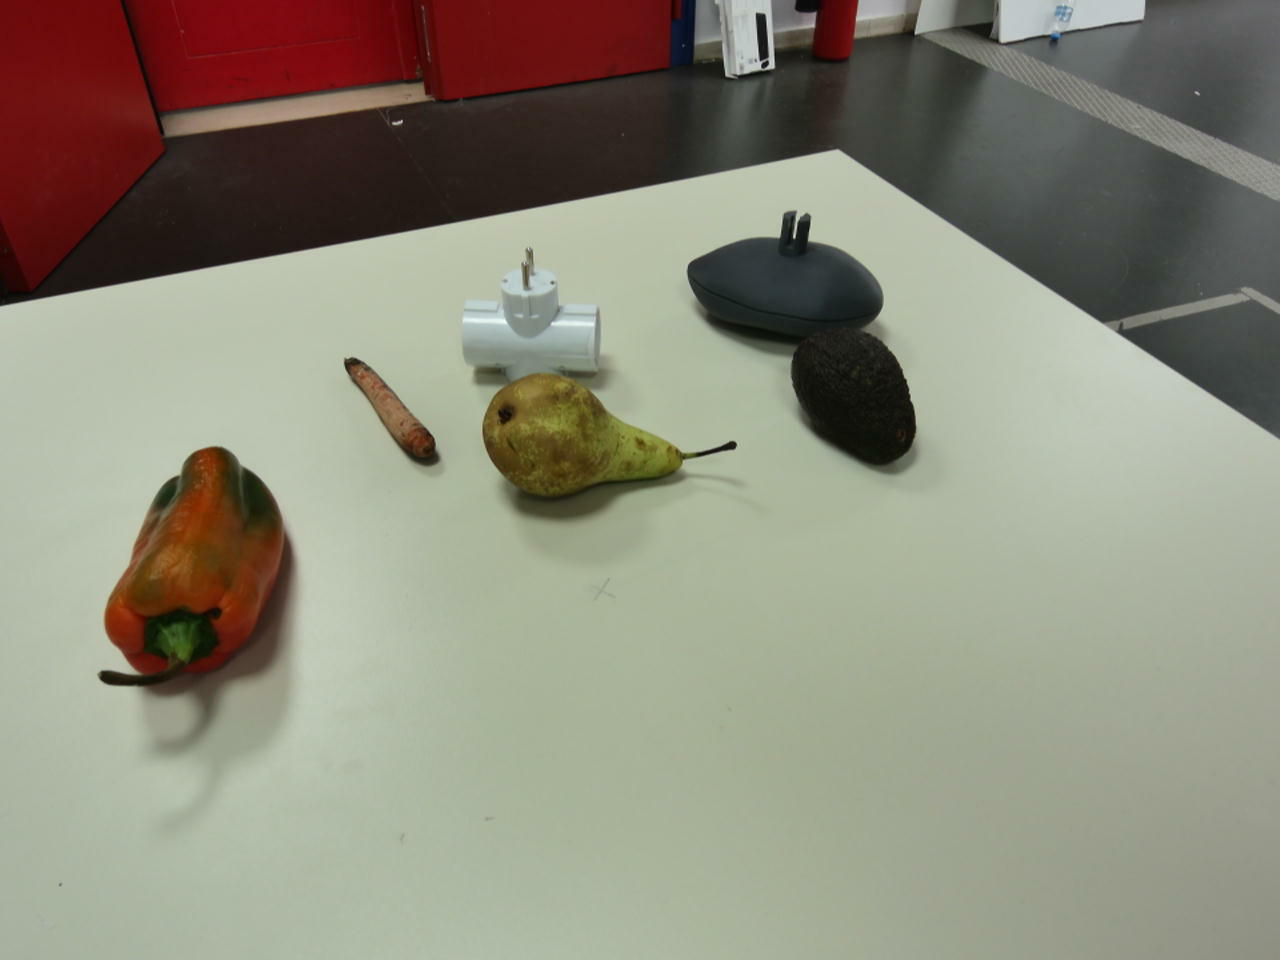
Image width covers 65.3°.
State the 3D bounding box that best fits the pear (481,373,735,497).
[{"bbox_3d":[-0.021,-0.032,0.593,0.144,0.075,0.071,-12,40,-14],"label":"pear"}]
